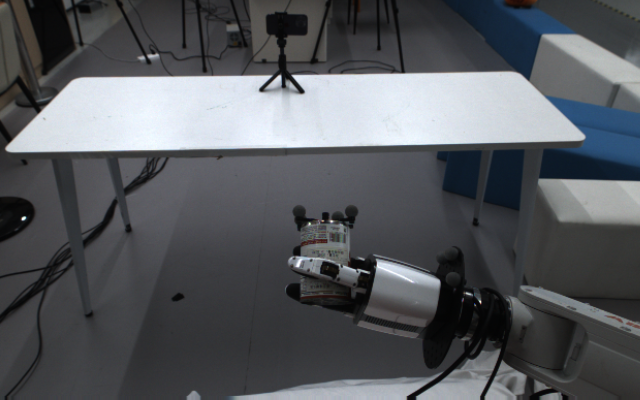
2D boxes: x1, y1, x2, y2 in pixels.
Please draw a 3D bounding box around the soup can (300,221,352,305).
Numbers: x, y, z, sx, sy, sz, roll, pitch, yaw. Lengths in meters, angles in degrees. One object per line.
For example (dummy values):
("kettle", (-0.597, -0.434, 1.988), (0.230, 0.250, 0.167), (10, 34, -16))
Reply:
("soup can", (0.008, 0.084, 0.631), (0.067, 0.067, 0.101), (1, 73, -2))
